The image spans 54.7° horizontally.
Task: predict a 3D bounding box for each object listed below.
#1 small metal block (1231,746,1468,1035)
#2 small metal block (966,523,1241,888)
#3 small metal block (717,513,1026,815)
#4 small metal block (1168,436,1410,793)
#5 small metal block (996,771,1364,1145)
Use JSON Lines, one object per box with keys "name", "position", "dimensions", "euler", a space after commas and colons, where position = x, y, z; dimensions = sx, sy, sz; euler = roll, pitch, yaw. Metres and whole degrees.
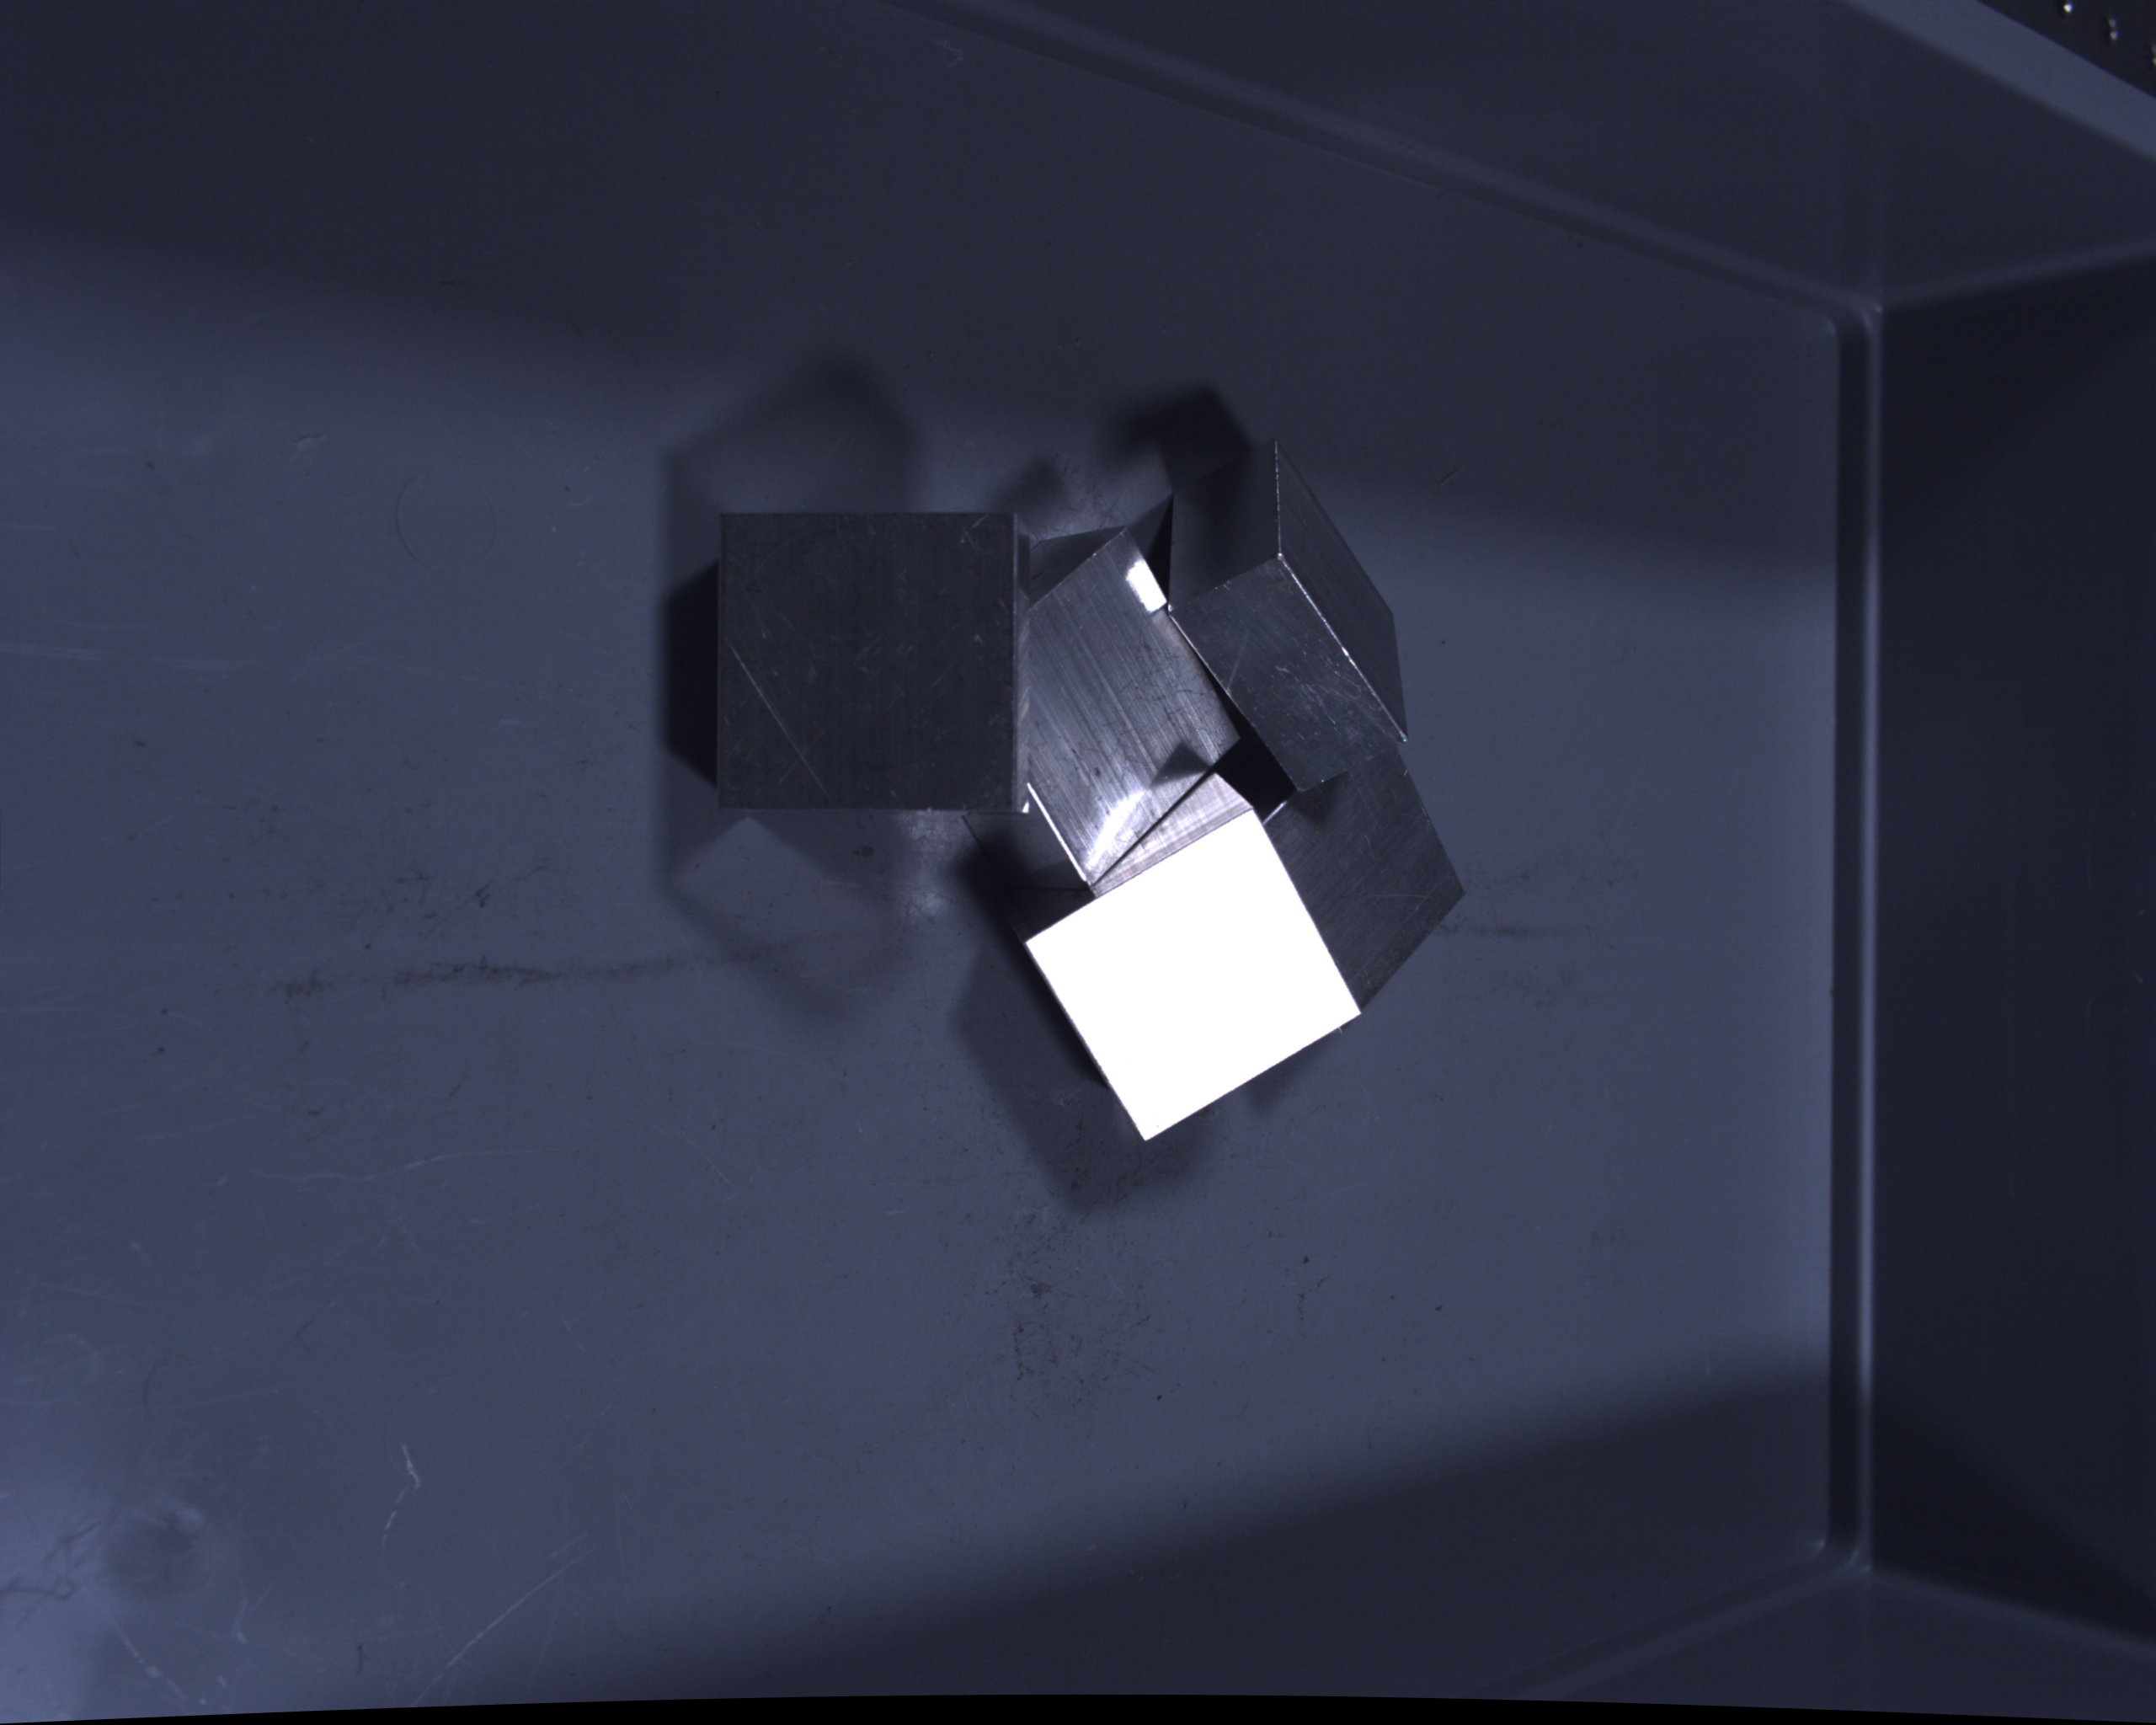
{"name": "small metal block", "position": [0.052, 0.001, 0.450], "dimensions": [0.050, 0.025, 0.050], "euler": [-43, 117, -31]}
{"name": "small metal block", "position": [-0.002, -0.030, 0.404], "dimensions": [0.050, 0.025, 0.050], "euler": [-45, 118, -31]}
{"name": "small metal block", "position": [-0.034, -0.033, 0.360], "dimensions": [0.050, 0.025, 0.050], "euler": [0, 89, 3]}
{"name": "small metal block", "position": [0.043, -0.051, 0.428], "dimensions": [0.050, 0.025, 0.050], "euler": [51, 25, -28]}
{"name": "small metal block", "position": [0.020, 0.018, 0.408], "dimensions": [0.050, 0.025, 0.050], "euler": [-31, 113, -3]}
